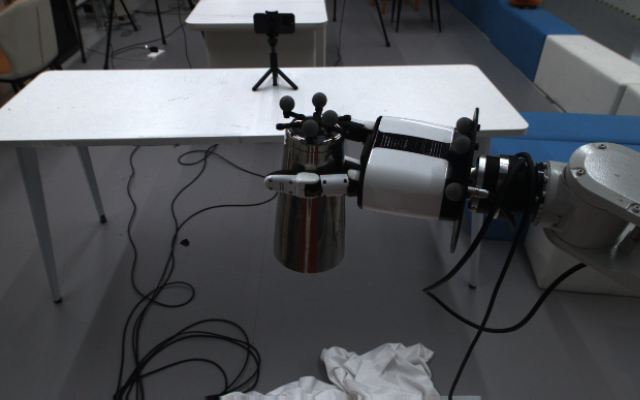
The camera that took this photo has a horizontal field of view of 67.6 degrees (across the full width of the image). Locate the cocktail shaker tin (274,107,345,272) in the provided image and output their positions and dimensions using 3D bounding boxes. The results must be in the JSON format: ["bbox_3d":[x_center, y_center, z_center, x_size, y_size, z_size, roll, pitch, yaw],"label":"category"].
[{"bbox_3d":[-0.007,-0.010,0.583,0.093,0.170,0.093,3,33,-2],"label":"cocktail shaker tin"}]
